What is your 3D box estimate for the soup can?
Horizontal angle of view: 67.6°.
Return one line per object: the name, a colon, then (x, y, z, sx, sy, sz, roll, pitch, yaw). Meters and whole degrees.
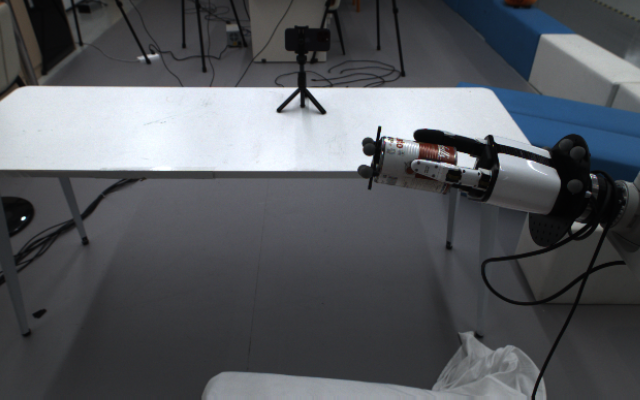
soup can: (0.133, -0.050, 0.676, 0.101, 0.067, 0.067, 9, 35, 0)
